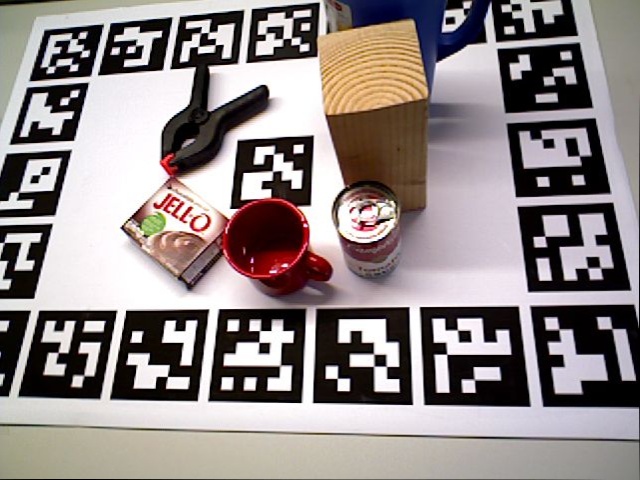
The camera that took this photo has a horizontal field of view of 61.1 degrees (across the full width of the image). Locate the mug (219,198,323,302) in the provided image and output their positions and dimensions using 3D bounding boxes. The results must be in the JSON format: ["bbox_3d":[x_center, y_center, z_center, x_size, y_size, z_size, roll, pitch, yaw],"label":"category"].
[{"bbox_3d":[-0.045,0.021,0.574,0.117,0.082,0.092,34,72,23],"label":"mug"}]

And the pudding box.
[{"bbox_3d":[-0.179,-0.008,0.639,0.114,0.039,0.089,35,79,23],"label":"pudding box"}]

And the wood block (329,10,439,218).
[{"bbox_3d":[0.060,-0.109,0.542,0.090,0.209,0.090,-2,64,4],"label":"wood block"}]

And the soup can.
[{"bbox_3d":[0.046,-0.004,0.556,0.068,0.103,0.067,-4,67,8],"label":"soup can"}]

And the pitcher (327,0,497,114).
[{"bbox_3d":[0.087,-0.226,0.572,0.189,0.245,0.131,-3,62,11],"label":"pitcher"}]

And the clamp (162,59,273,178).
[{"bbox_3d":[-0.151,-0.152,0.704,0.122,0.037,0.163,29,74,13],"label":"clamp"}]
